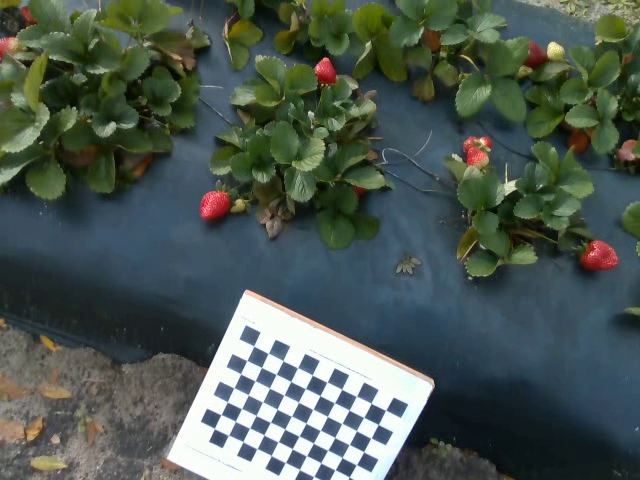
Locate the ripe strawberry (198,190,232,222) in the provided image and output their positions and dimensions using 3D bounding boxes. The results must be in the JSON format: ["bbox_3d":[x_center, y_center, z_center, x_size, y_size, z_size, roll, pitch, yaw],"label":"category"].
[{"bbox_3d":[-0.153,-0.045,0.768,0.045,0.058,0.051,29,-40,-1],"label":"ripe strawberry"}]
